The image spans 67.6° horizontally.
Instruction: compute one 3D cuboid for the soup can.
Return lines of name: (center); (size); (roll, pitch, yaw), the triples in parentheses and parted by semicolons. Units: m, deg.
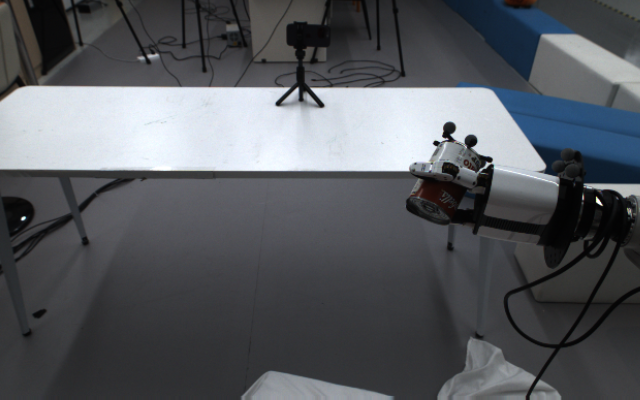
soup can: (0.177, -0.026, 0.679); (0.067, 0.067, 0.101); (23, 72, 27)
